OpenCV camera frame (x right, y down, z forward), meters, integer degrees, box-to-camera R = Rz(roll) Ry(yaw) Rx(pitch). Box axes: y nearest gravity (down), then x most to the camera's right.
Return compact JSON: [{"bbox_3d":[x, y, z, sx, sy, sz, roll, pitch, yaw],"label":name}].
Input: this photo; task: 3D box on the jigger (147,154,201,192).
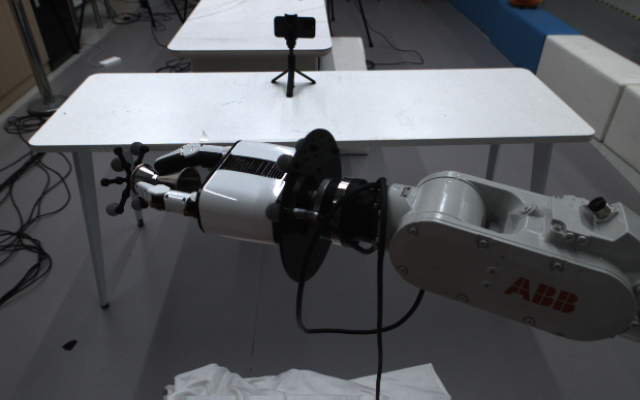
[{"bbox_3d":[-0.174,-0.022,0.561,0.071,0.043,0.043,7,34,23],"label":"jigger"}]
